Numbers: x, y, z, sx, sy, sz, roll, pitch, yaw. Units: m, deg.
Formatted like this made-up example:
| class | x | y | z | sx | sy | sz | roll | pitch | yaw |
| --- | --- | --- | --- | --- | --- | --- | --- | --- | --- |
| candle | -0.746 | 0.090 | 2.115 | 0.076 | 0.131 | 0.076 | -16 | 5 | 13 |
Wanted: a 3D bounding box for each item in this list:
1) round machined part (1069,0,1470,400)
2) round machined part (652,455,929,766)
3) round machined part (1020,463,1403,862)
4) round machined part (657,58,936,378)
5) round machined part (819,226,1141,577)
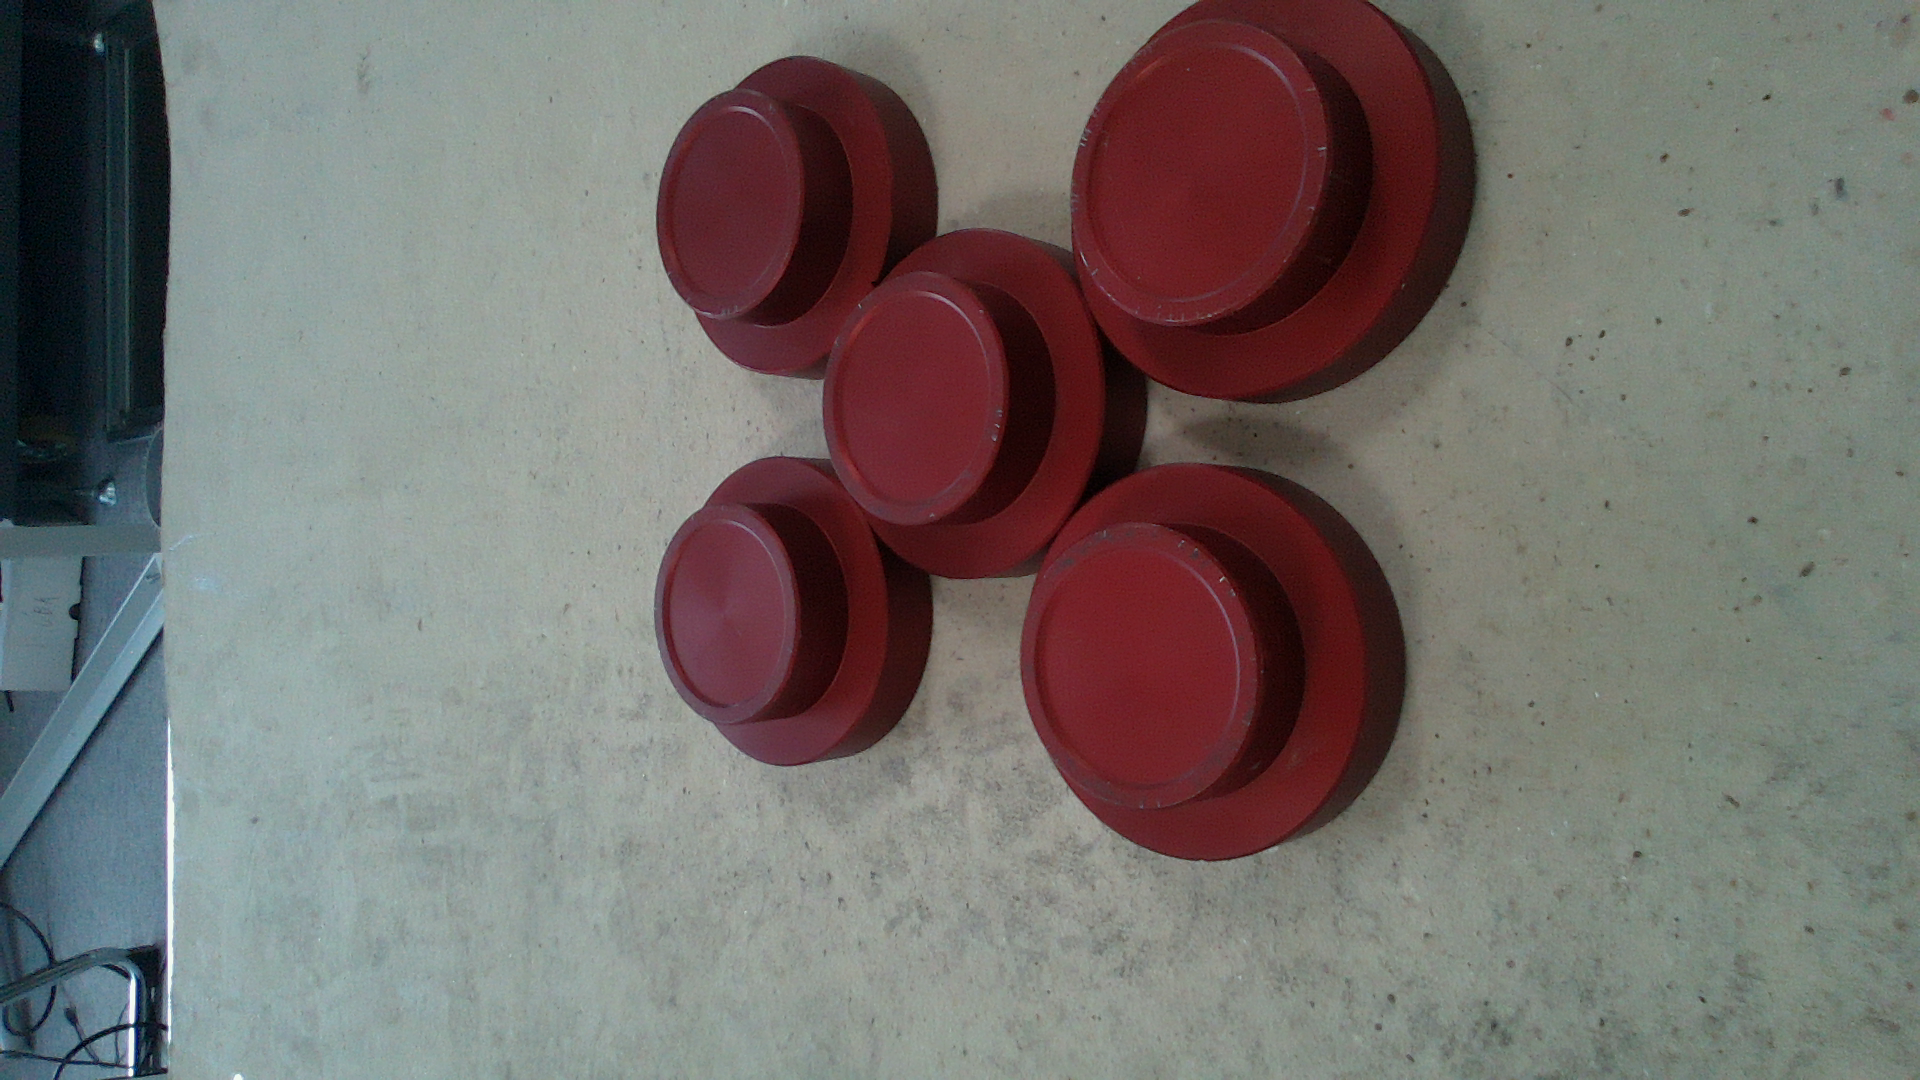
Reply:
| class | x | y | z | sx | sy | sz | roll | pitch | yaw |
| --- | --- | --- | --- | --- | --- | --- | --- | --- | --- |
| round machined part | 0.065 | -0.083 | 0.328 | 0.098 | 0.042 | 0.098 | 2 | 93 | 41 |
| round machined part | -0.060 | 0.022 | 0.434 | 0.098 | 0.042 | 0.098 | 1 | 91 | 40 |
| round machined part | 0.054 | 0.030 | 0.339 | 0.098 | 0.042 | 0.098 | 2 | 93 | 41 |
| round machined part | -0.058 | -0.101 | 0.432 | 0.098 | 0.042 | 0.098 | 0 | 90 | 40 |
| round machined part | -0.001 | -0.038 | 0.385 | 0.098 | 0.042 | 0.098 | 2 | 93 | 41 |
